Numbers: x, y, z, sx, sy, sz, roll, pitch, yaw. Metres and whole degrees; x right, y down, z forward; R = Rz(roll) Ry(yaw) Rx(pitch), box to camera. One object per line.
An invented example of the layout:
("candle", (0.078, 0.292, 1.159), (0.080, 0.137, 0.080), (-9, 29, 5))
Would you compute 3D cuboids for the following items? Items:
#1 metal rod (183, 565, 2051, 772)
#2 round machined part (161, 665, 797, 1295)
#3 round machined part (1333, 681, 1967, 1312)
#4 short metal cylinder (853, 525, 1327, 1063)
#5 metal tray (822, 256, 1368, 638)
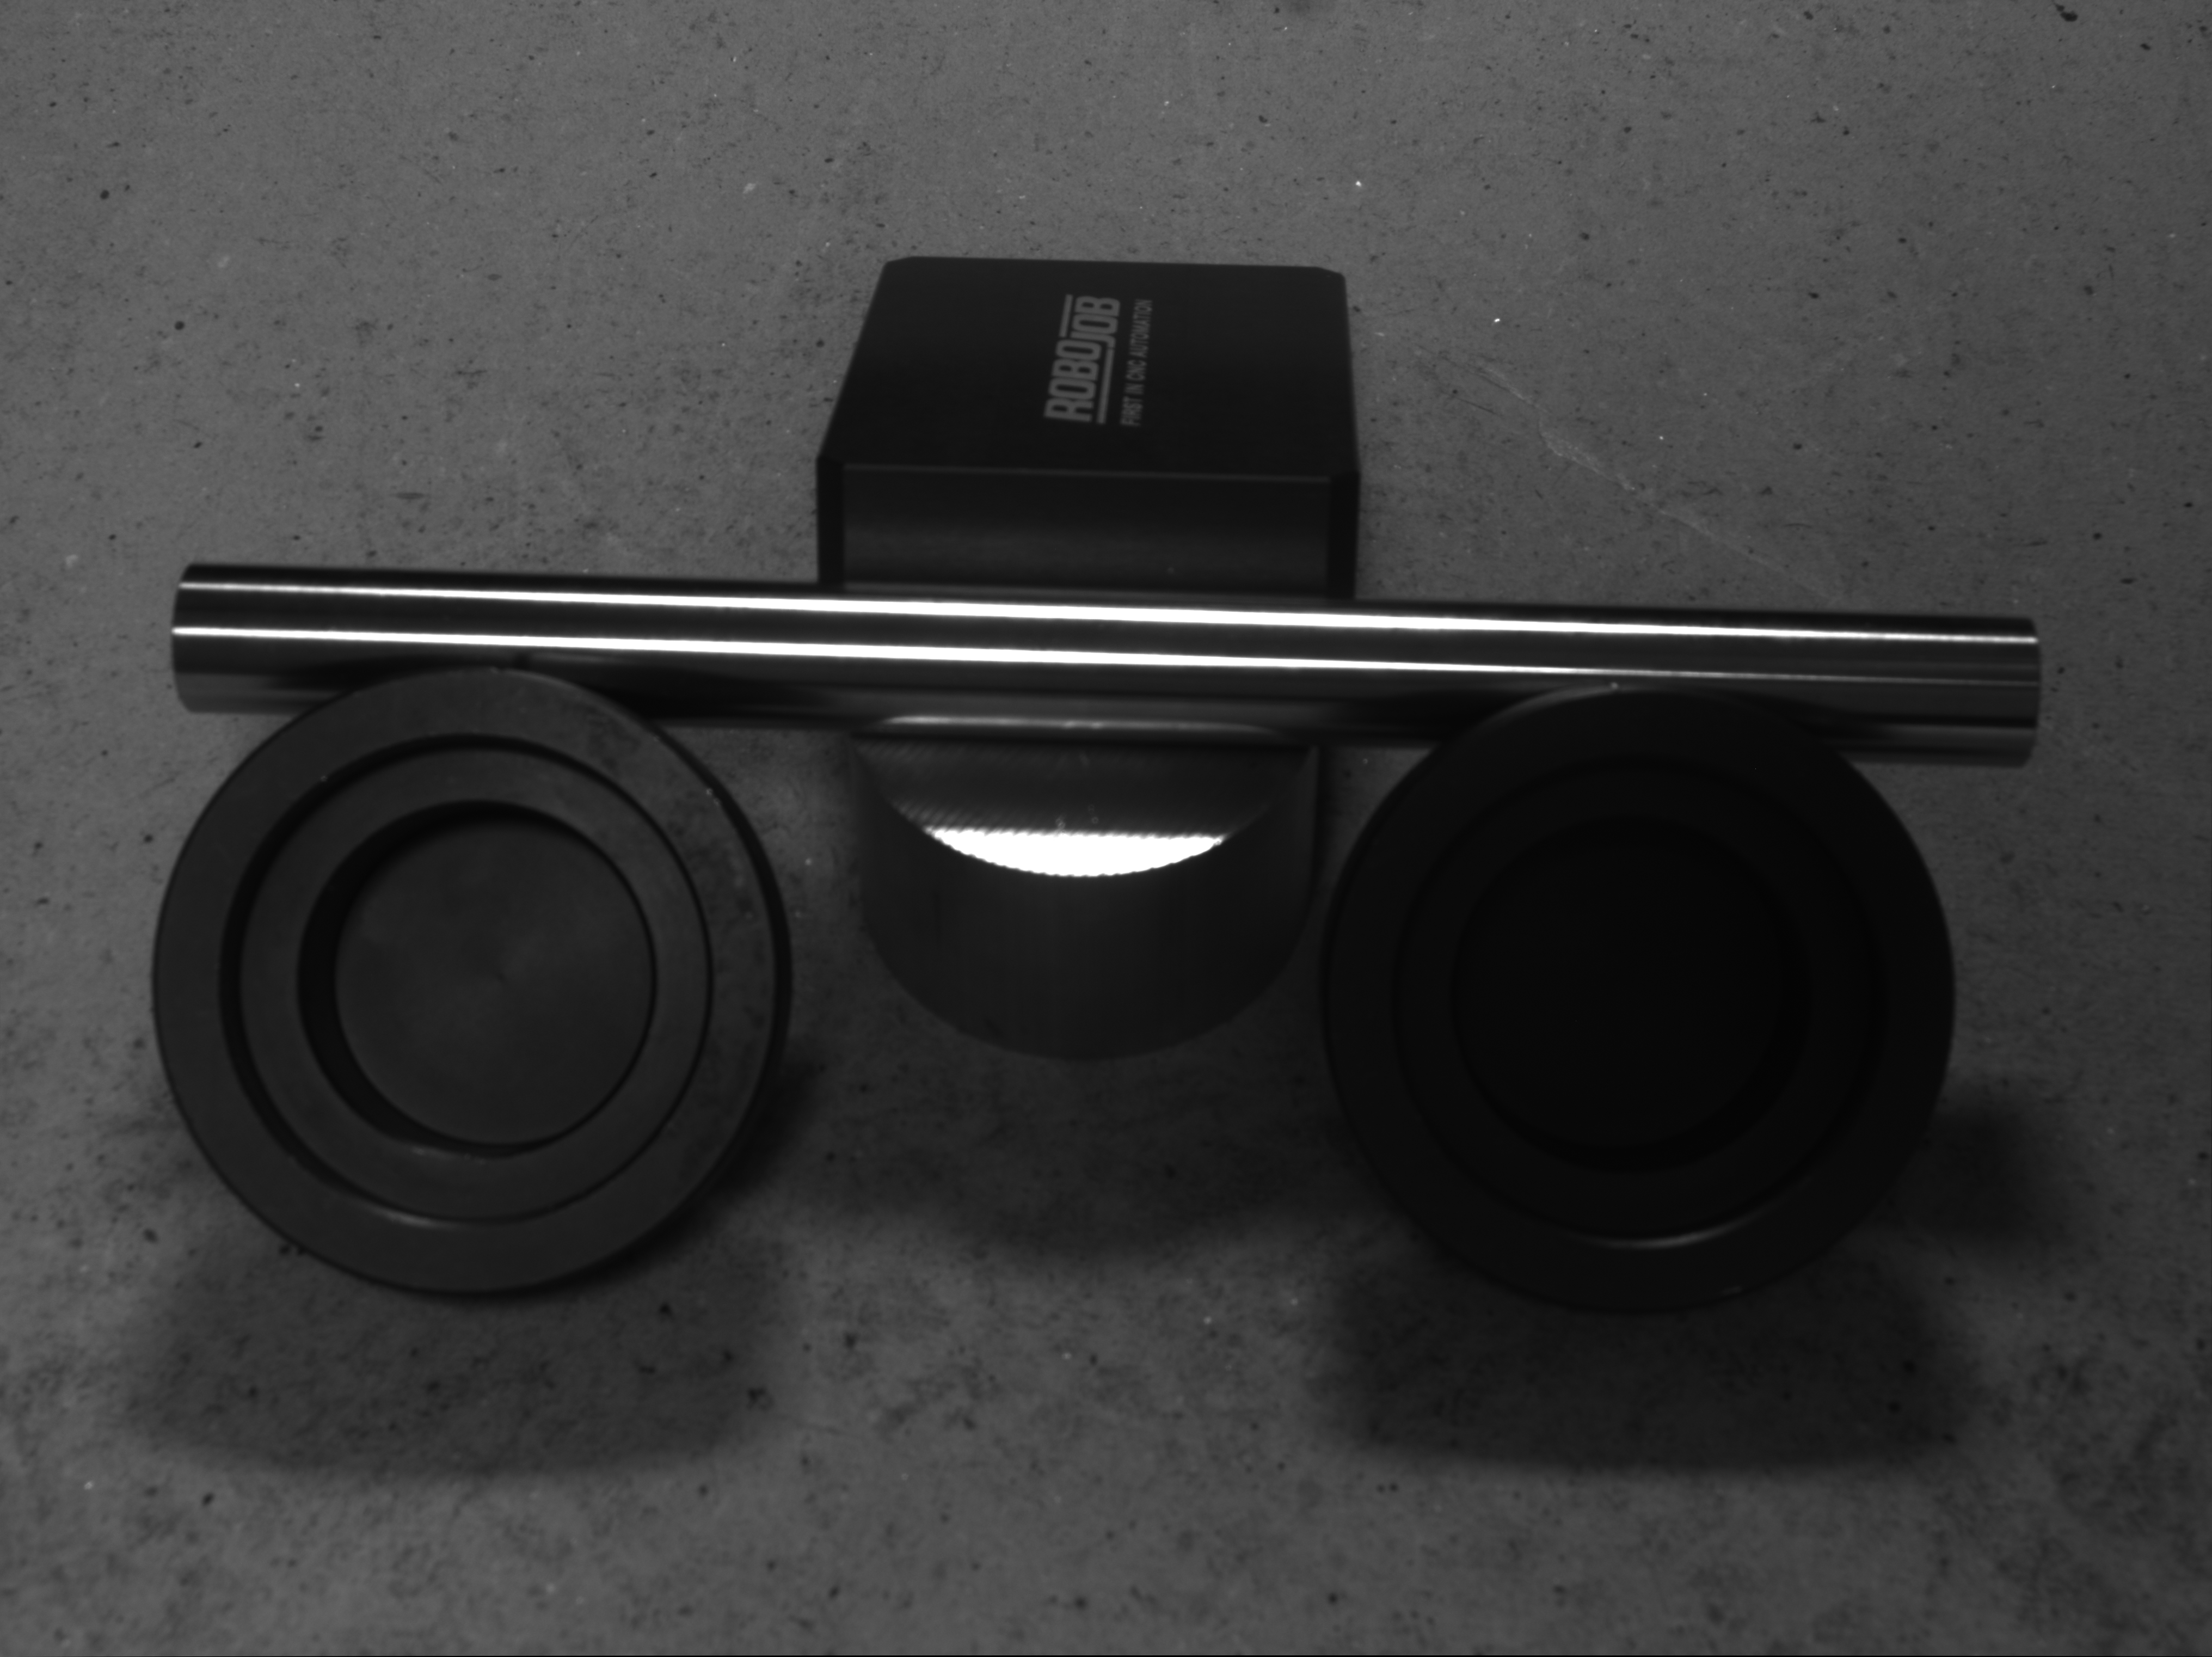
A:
("metal rod", (0.001, -0.026, 0.600), (0.300, 0.025, 0.025), (2, 50, 1))
("round machined part", (-0.098, 0.024, 0.590), (0.098, 0.042, 0.098), (0, 88, 0))
("round machined part", (0.085, 0.025, 0.587), (0.098, 0.042, 0.098), (0, 92, 1))
("short metal cylinder", (-0.003, -0.007, 0.632), (0.080, 0.050, 0.080), (0, 50, 0))
("metal tray", (0.000, -0.072, 0.664), (0.090, 0.030, 0.130), (2, 24, 2))
